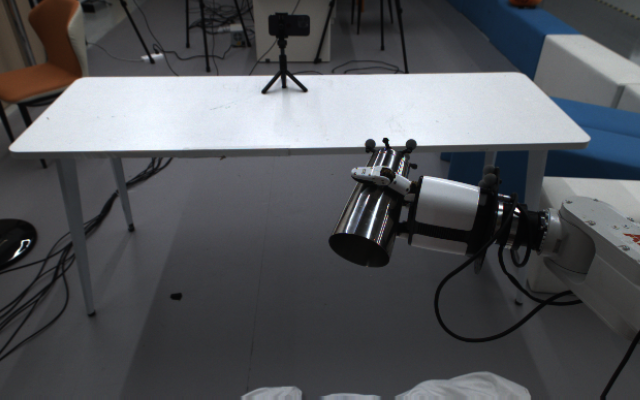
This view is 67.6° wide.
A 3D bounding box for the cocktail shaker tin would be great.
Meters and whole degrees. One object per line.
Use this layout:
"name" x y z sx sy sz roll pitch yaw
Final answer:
"cocktail shaker tin" 0.082 0.003 0.731 0.093 0.093 0.170 14 57 16
